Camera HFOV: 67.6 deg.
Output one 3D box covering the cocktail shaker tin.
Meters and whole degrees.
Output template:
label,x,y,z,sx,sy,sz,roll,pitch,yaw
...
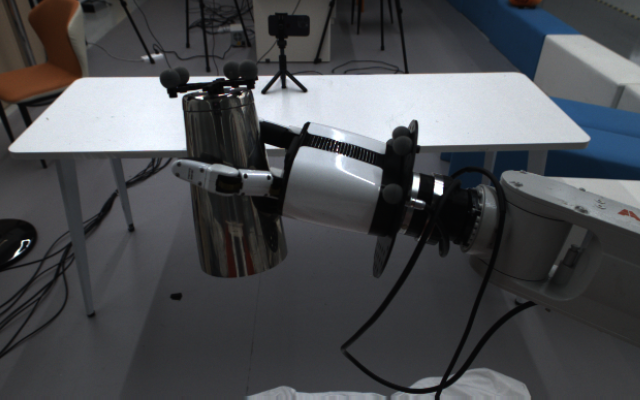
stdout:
label,x,y,z,sx,sy,sz,roll,pitch,yaw
cocktail shaker tin,-0.087,-0.019,0.481,0.093,0.170,0.093,-6,19,2
